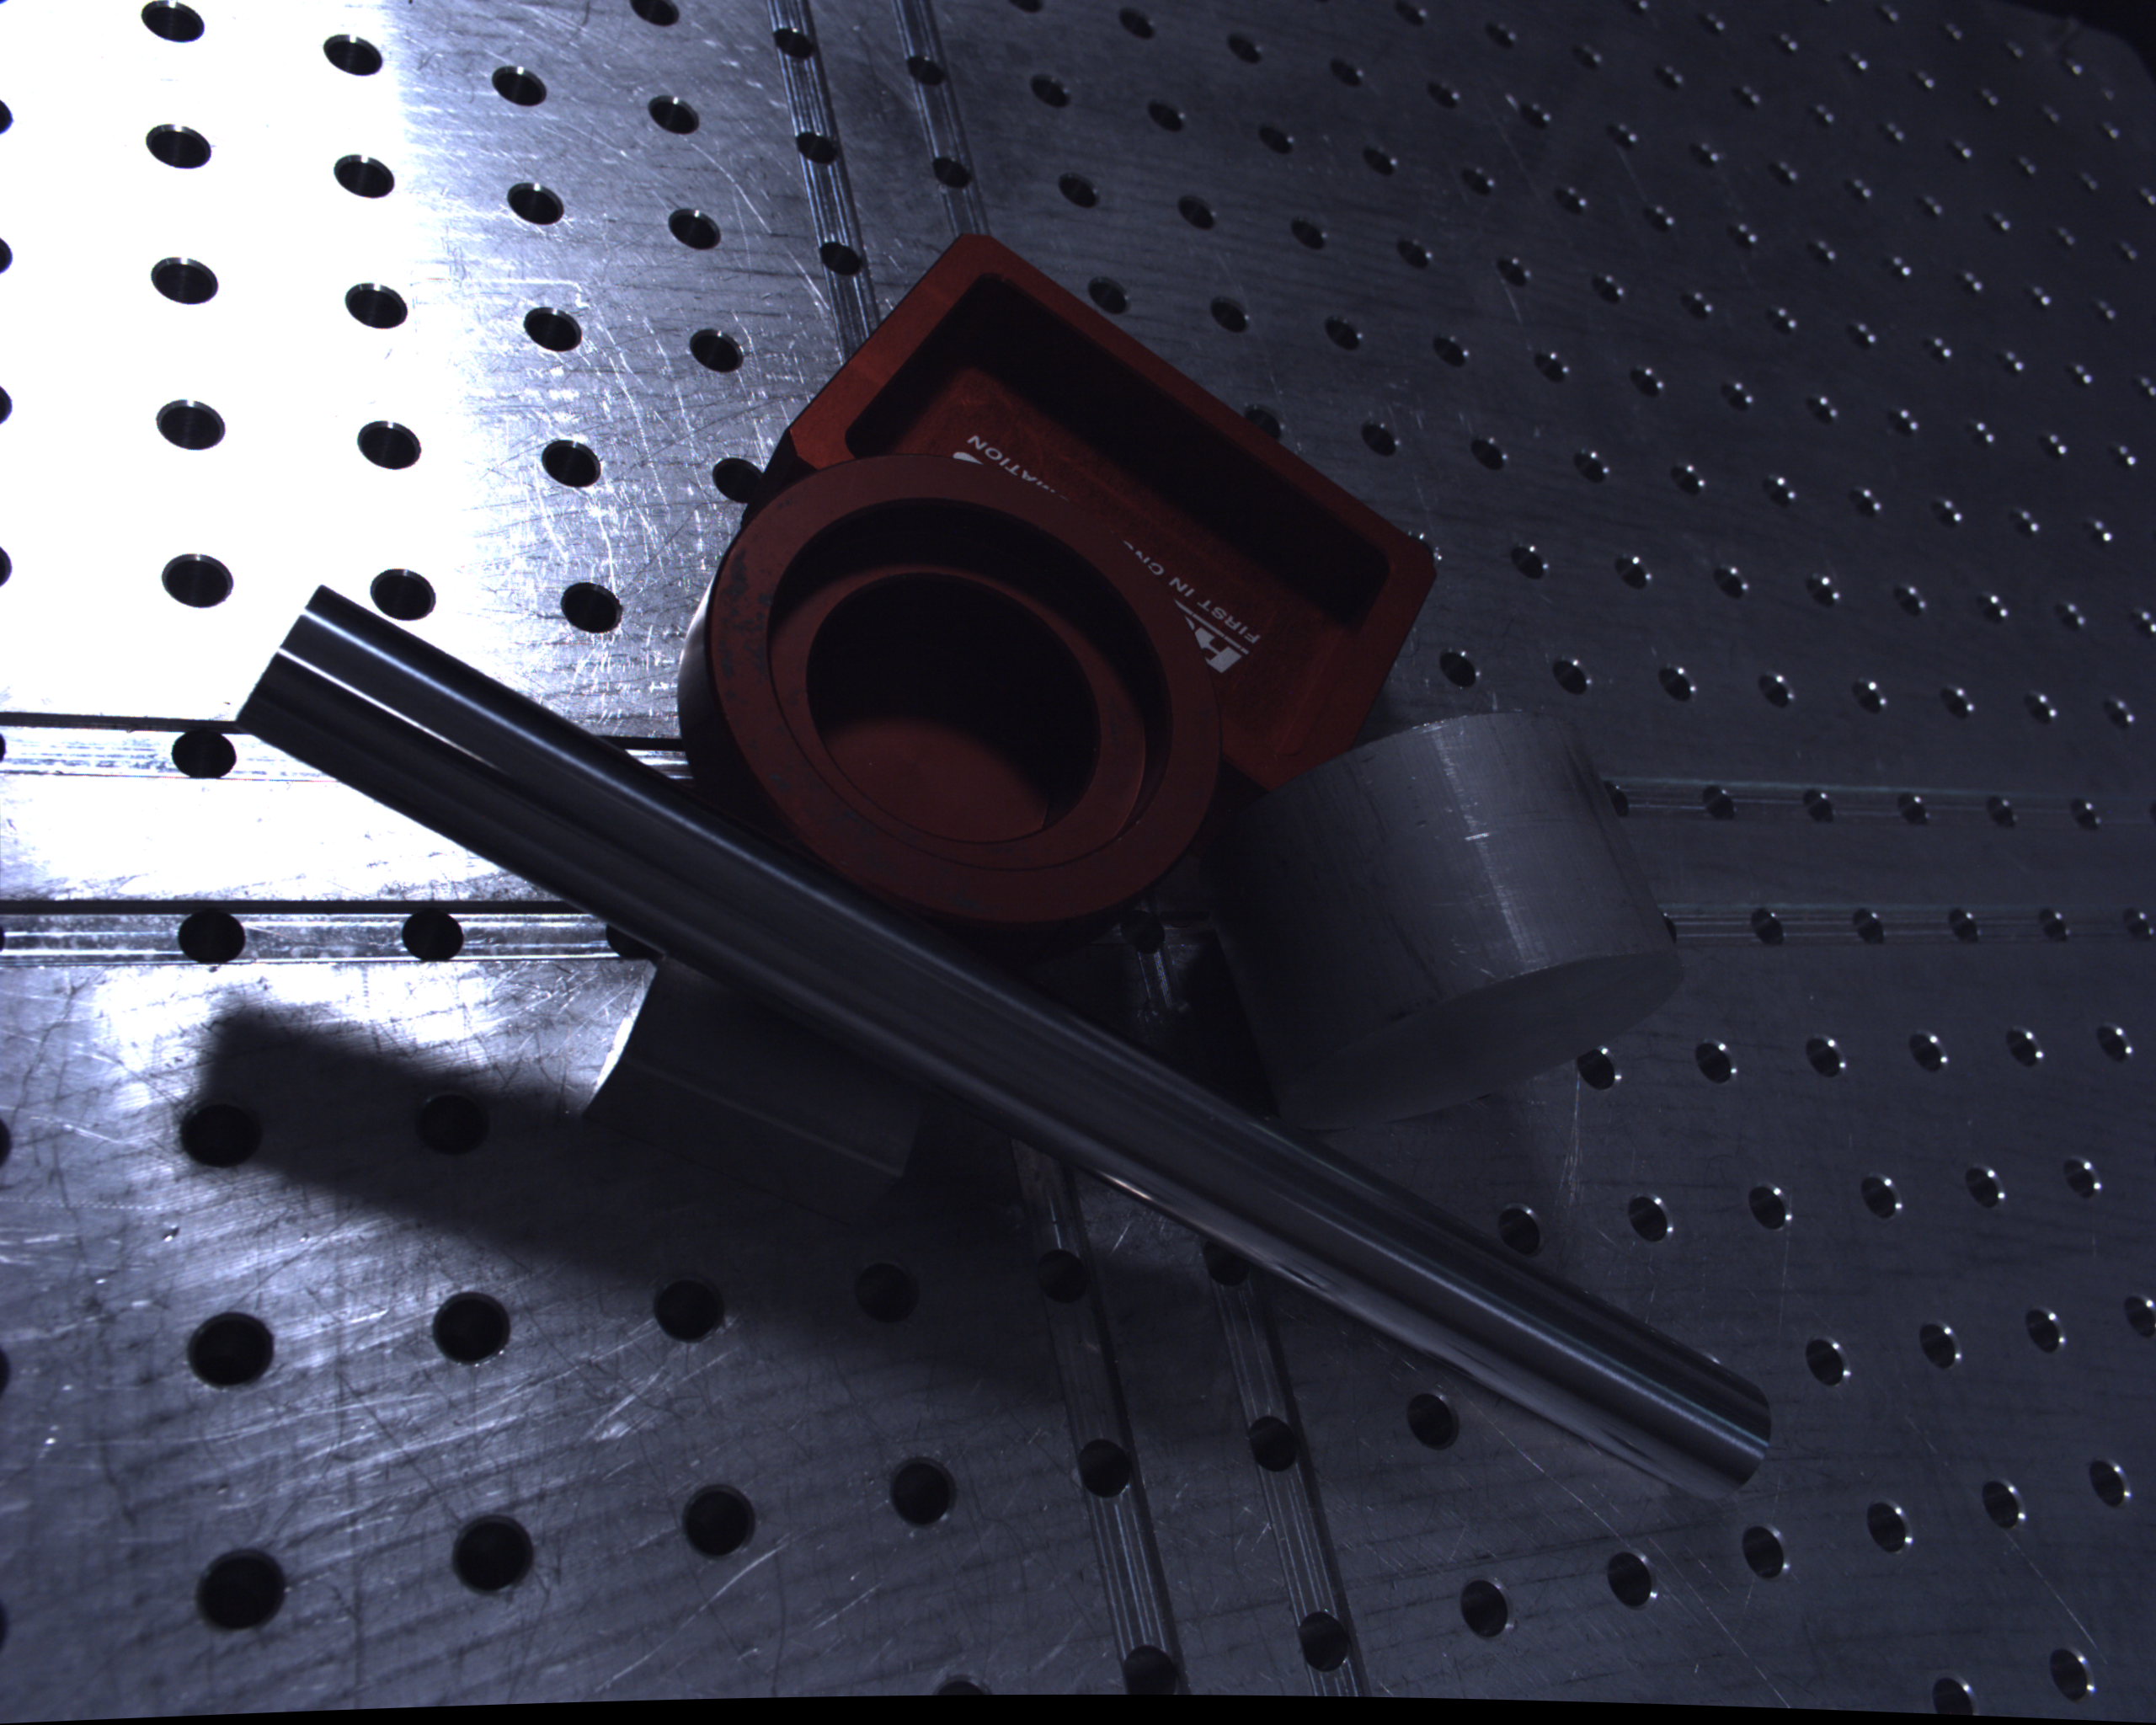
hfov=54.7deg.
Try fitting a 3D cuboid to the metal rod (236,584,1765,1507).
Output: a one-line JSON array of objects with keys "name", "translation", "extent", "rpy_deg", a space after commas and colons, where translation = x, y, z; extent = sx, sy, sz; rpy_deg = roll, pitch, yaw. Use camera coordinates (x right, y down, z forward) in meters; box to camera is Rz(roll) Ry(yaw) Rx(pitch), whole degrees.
[{"name": "metal rod", "translation": [0.004, 0.042, 0.360], "extent": [0.301, 0.025, 0.025], "rpy_deg": [31, 51, -20]}]

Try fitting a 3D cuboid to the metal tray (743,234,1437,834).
[{"name": "metal tray", "translation": [0.006, -0.068, 0.450], "extent": [0.130, 0.030, 0.090], "rpy_deg": [34, 51, -6]}]

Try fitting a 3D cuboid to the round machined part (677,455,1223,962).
[{"name": "round machined part", "translation": [-0.026, -0.025, 0.389], "extent": [0.099, 0.042, 0.098], "rpy_deg": [12, 57, -19]}]

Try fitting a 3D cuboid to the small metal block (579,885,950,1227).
[{"name": "small metal block", "translation": [-0.052, 0.028, 0.364], "extent": [0.050, 0.025, 0.050], "rpy_deg": [25, 53, -13]}]

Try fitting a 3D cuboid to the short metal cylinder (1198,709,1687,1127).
[{"name": "short metal cylinder", "translation": [0.069, 0.012, 0.403], "extent": [0.081, 0.080, 0.050], "rpy_deg": [-4, 64, -30]}]
